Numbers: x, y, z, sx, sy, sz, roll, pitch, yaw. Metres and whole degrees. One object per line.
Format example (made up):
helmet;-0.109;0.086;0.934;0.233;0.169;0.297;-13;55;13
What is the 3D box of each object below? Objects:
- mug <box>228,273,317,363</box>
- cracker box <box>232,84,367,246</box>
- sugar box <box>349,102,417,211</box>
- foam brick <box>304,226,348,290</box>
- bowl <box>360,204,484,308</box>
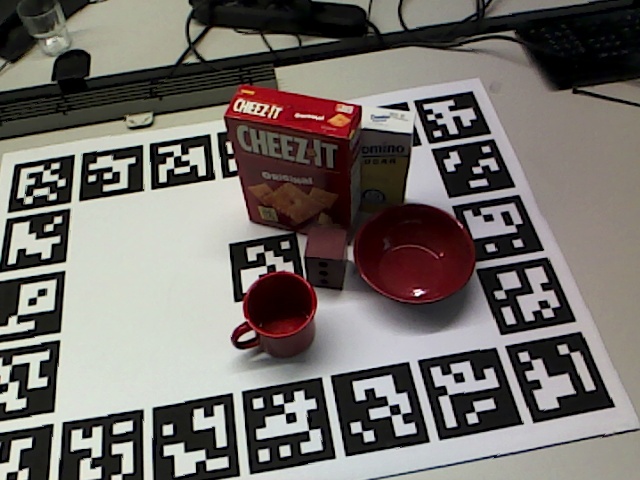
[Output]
mug;-0.060;0.107;0.788;0.117;0.081;0.094;-17;47;-5
cracker box;-0.024;-0.095;0.852;0.165;0.213;0.072;17;56;15
sugar box;0.085;-0.112;0.876;0.093;0.176;0.045;9;56;11
foam brick;0.010;0.025;0.852;0.053;0.078;0.051;4;55;8
bowl;0.135;0.031;0.832;0.162;0.055;0.162;-2;56;3
